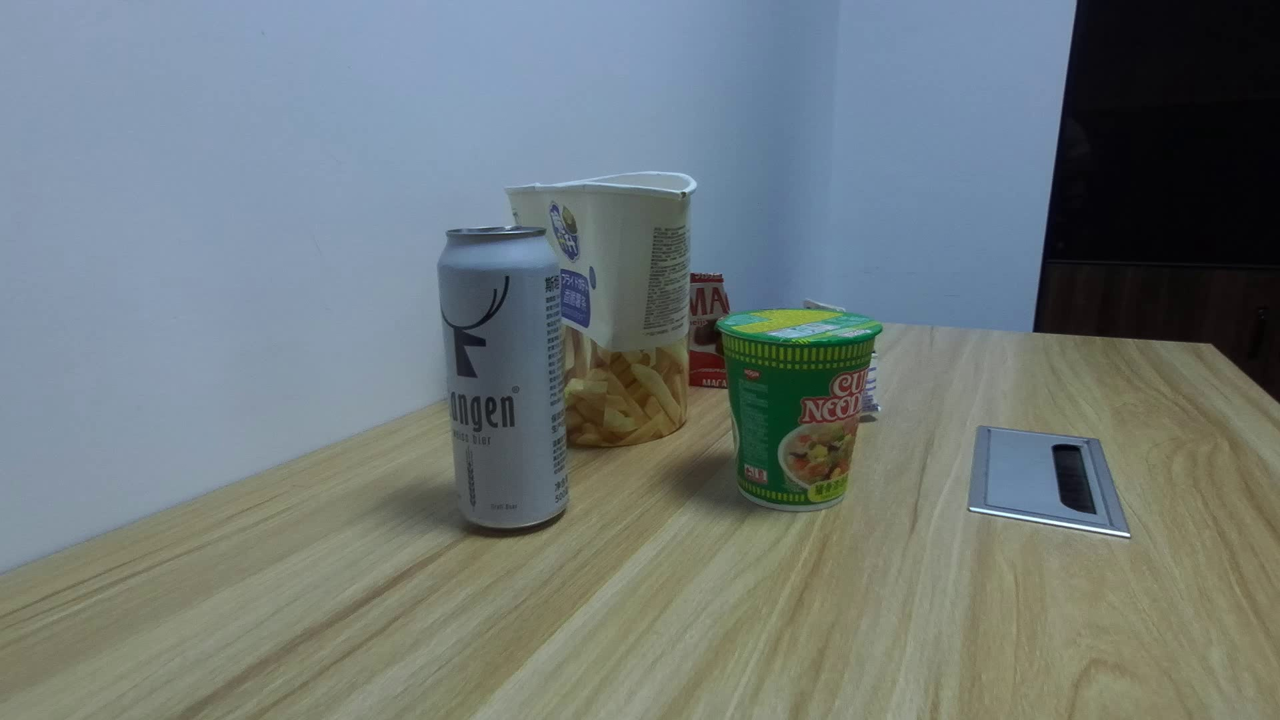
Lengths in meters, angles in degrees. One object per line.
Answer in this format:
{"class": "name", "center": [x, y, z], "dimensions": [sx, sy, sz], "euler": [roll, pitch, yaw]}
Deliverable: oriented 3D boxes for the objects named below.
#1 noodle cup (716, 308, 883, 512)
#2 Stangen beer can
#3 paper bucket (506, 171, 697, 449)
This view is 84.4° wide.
{"class": "noodle cup", "center": [0.096, 0.029, 0.438], "dimensions": [0.097, 0.110, 0.097], "euler": [-2, 16, 1]}
{"class": "Stangen beer can", "center": [-0.077, 0.011, 0.410], "dimensions": [0.067, 0.171, 0.067], "euler": [-1, 13, 0]}
{"class": "paper bucket", "center": [-0.031, -0.046, 0.568], "dimensions": [0.217, 0.199, 0.148], "euler": [7, 16, 31]}
